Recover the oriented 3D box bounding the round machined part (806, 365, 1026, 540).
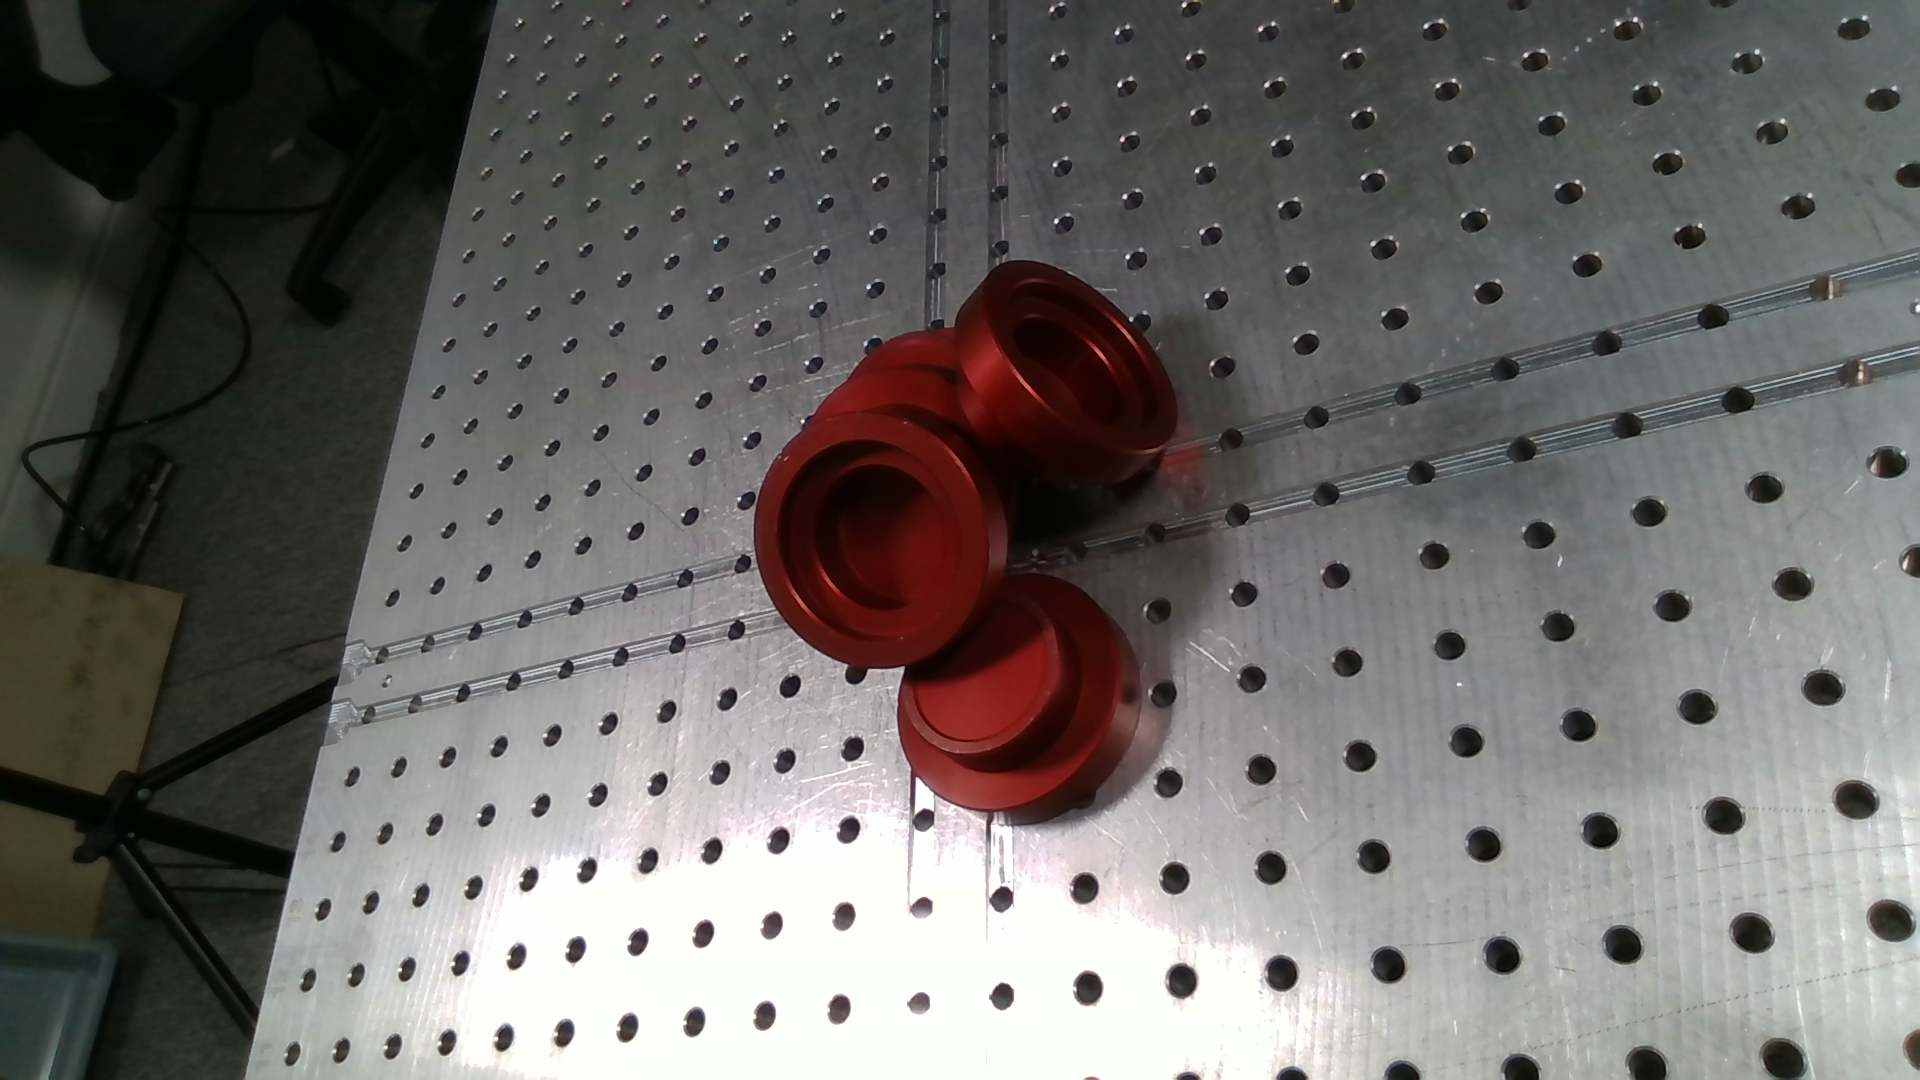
[{"bbox_3d":[-0.025,-0.023,0.575,0.098,0.042,0.098,4,102,19],"label":"round machined part"}]

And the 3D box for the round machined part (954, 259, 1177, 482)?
[{"bbox_3d":[0.037,-0.063,0.558,0.042,0.098,0.098,-44,46,38],"label":"round machined part"}]

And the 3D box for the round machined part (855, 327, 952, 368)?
[{"bbox_3d":[-0.017,-0.054,0.617,0.098,0.042,0.098,-14,59,25],"label":"round machined part"}]

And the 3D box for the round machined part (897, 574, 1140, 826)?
[{"bbox_3d":[0.017,0.058,0.536,0.098,0.042,0.098,-14,59,25],"label":"round machined part"}]

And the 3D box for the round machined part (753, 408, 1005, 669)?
[{"bbox_3d":[-0.028,-0.002,0.534,0.098,0.042,0.098,3,99,22],"label":"round machined part"}]
